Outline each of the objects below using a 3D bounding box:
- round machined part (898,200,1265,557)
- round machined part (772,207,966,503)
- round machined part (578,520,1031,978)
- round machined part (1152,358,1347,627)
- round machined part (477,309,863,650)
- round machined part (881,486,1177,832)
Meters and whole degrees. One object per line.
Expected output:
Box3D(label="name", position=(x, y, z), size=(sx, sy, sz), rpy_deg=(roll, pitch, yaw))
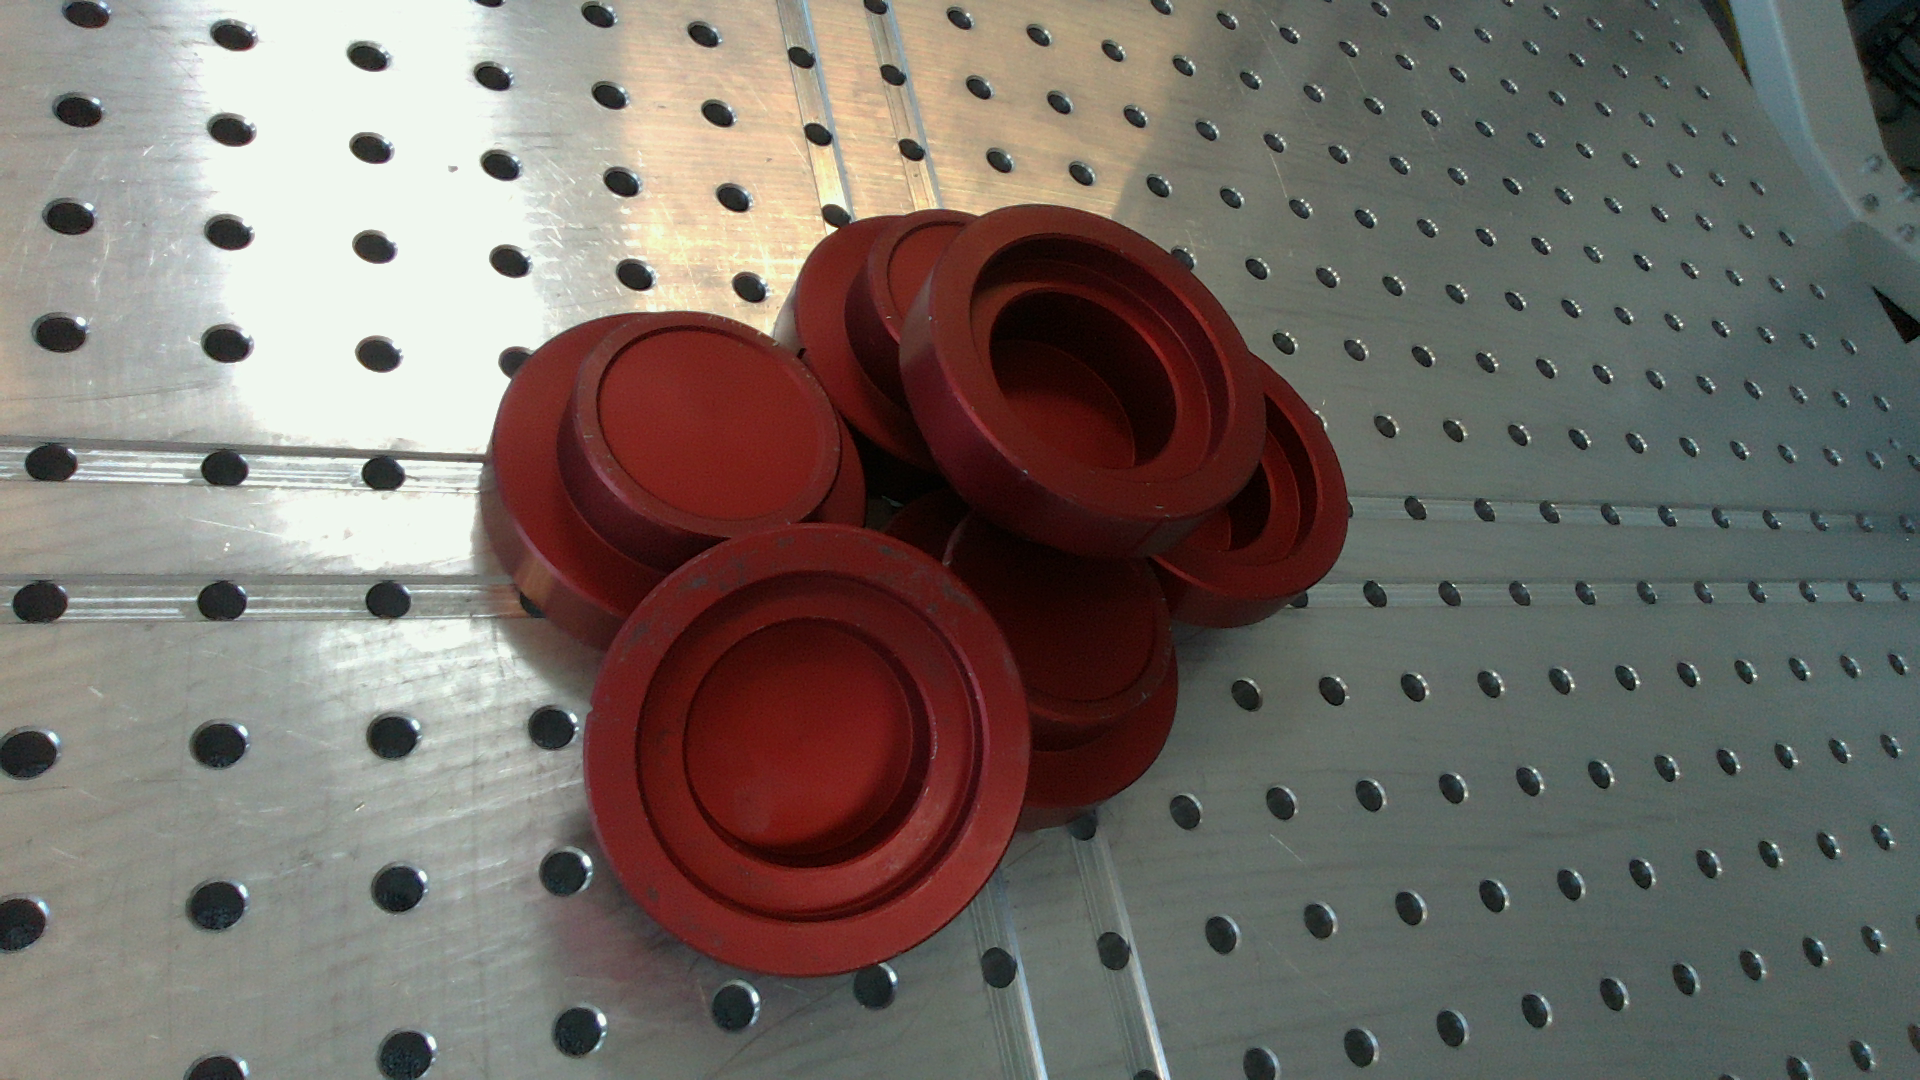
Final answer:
Box3D(label="round machined part", position=(0.028, -0.038, 0.365), size=(0.098, 0.042, 0.098), rpy_deg=(14, 56, -21))
Box3D(label="round machined part", position=(-0.004, -0.061, 0.416), size=(0.098, 0.042, 0.098), rpy_deg=(14, 56, -21))
Box3D(label="round machined part", position=(-0.036, 0.046, 0.317), size=(0.098, 0.042, 0.098), rpy_deg=(1, 84, -14))
Box3D(label="round machined part", position=(0.067, -0.017, 0.428), size=(0.098, 0.042, 0.098), rpy_deg=(14, 56, -21))
Box3D(label="round machined part", position=(-0.071, -0.020, 0.356), size=(0.098, 0.042, 0.098), rpy_deg=(14, 56, -21))
Box3D(label="round machined part", position=(0.018, 0.026, 0.375), size=(0.098, 0.042, 0.098), rpy_deg=(14, 56, -21))
